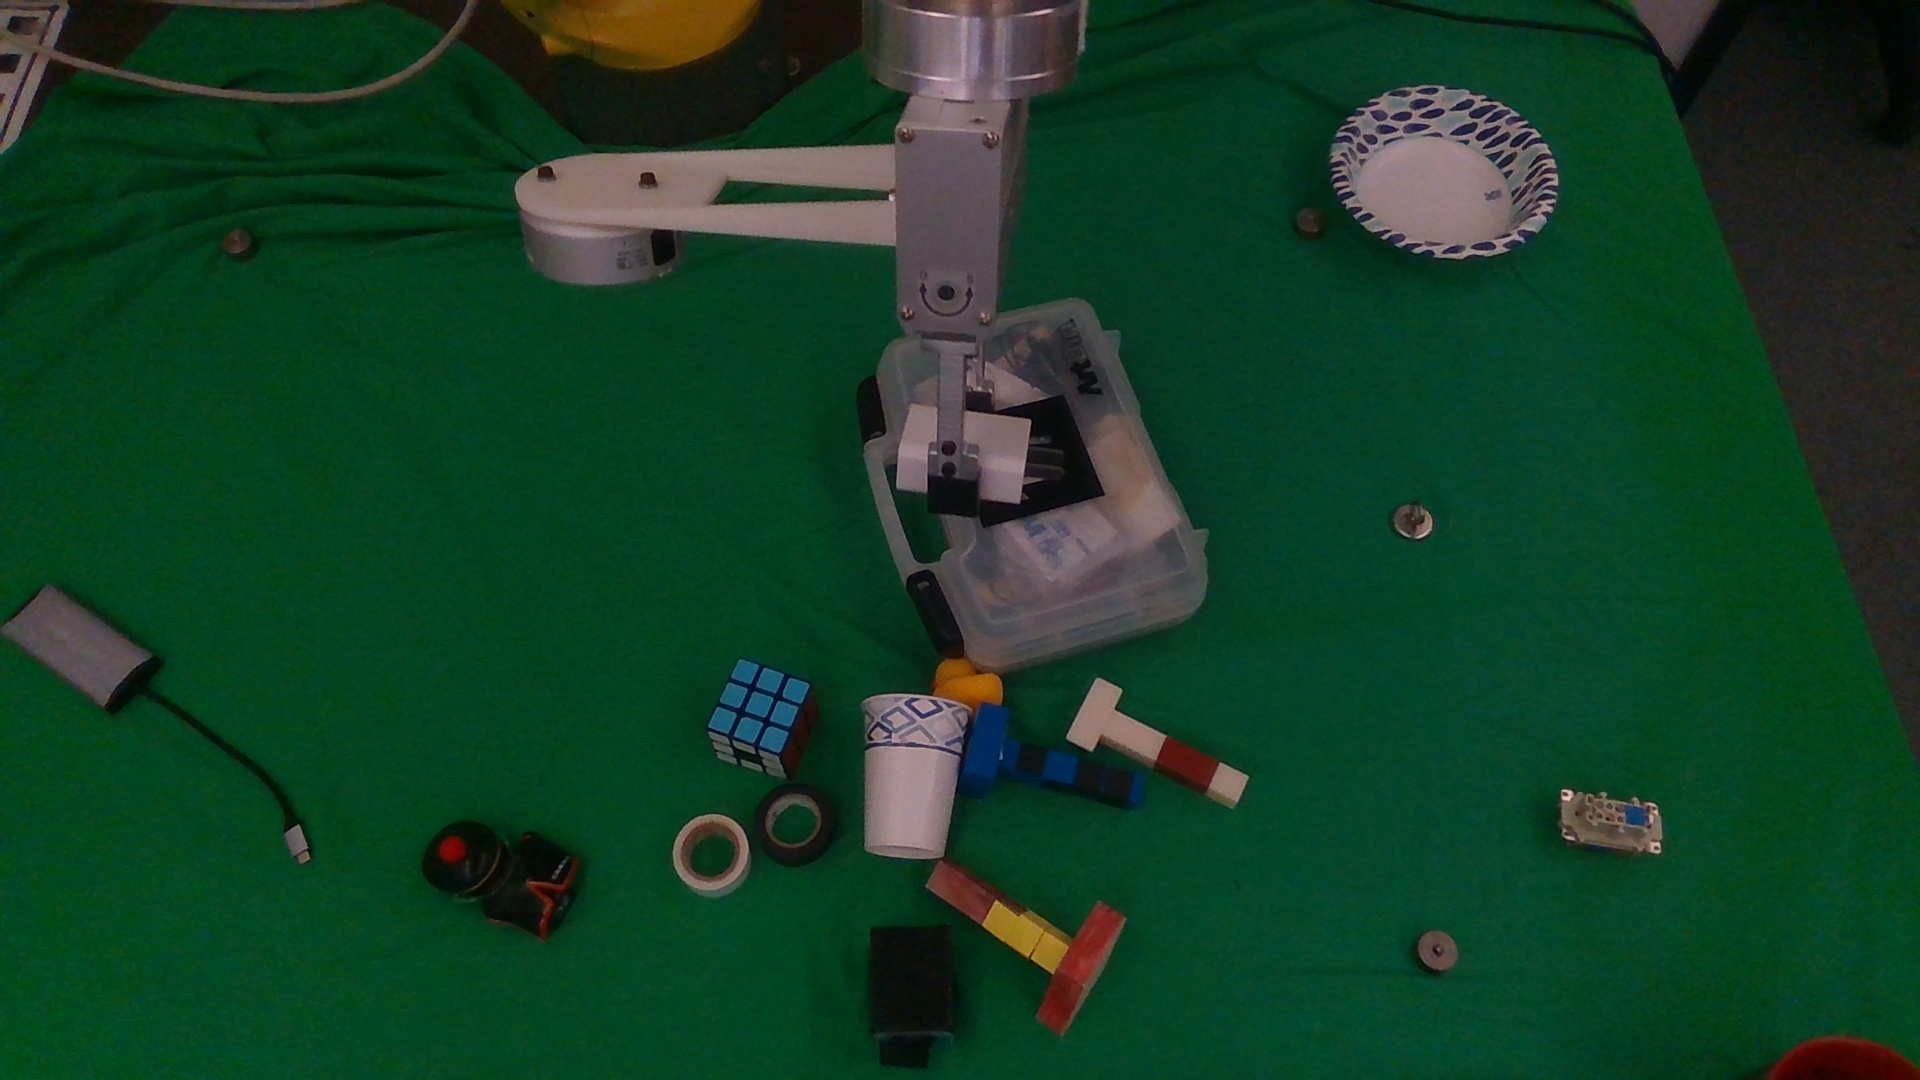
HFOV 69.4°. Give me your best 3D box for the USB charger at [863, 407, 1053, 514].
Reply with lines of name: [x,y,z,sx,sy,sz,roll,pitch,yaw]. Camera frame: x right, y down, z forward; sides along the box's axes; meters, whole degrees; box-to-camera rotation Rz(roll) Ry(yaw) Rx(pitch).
USB charger: [0.001,-0.033,0.590,0.076,0.029,0.044,8,44,11]

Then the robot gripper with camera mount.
robot gripper with camera mount: [-0.081,-0.100,0.550,0.193,0.158,0.119,7,36,3]
